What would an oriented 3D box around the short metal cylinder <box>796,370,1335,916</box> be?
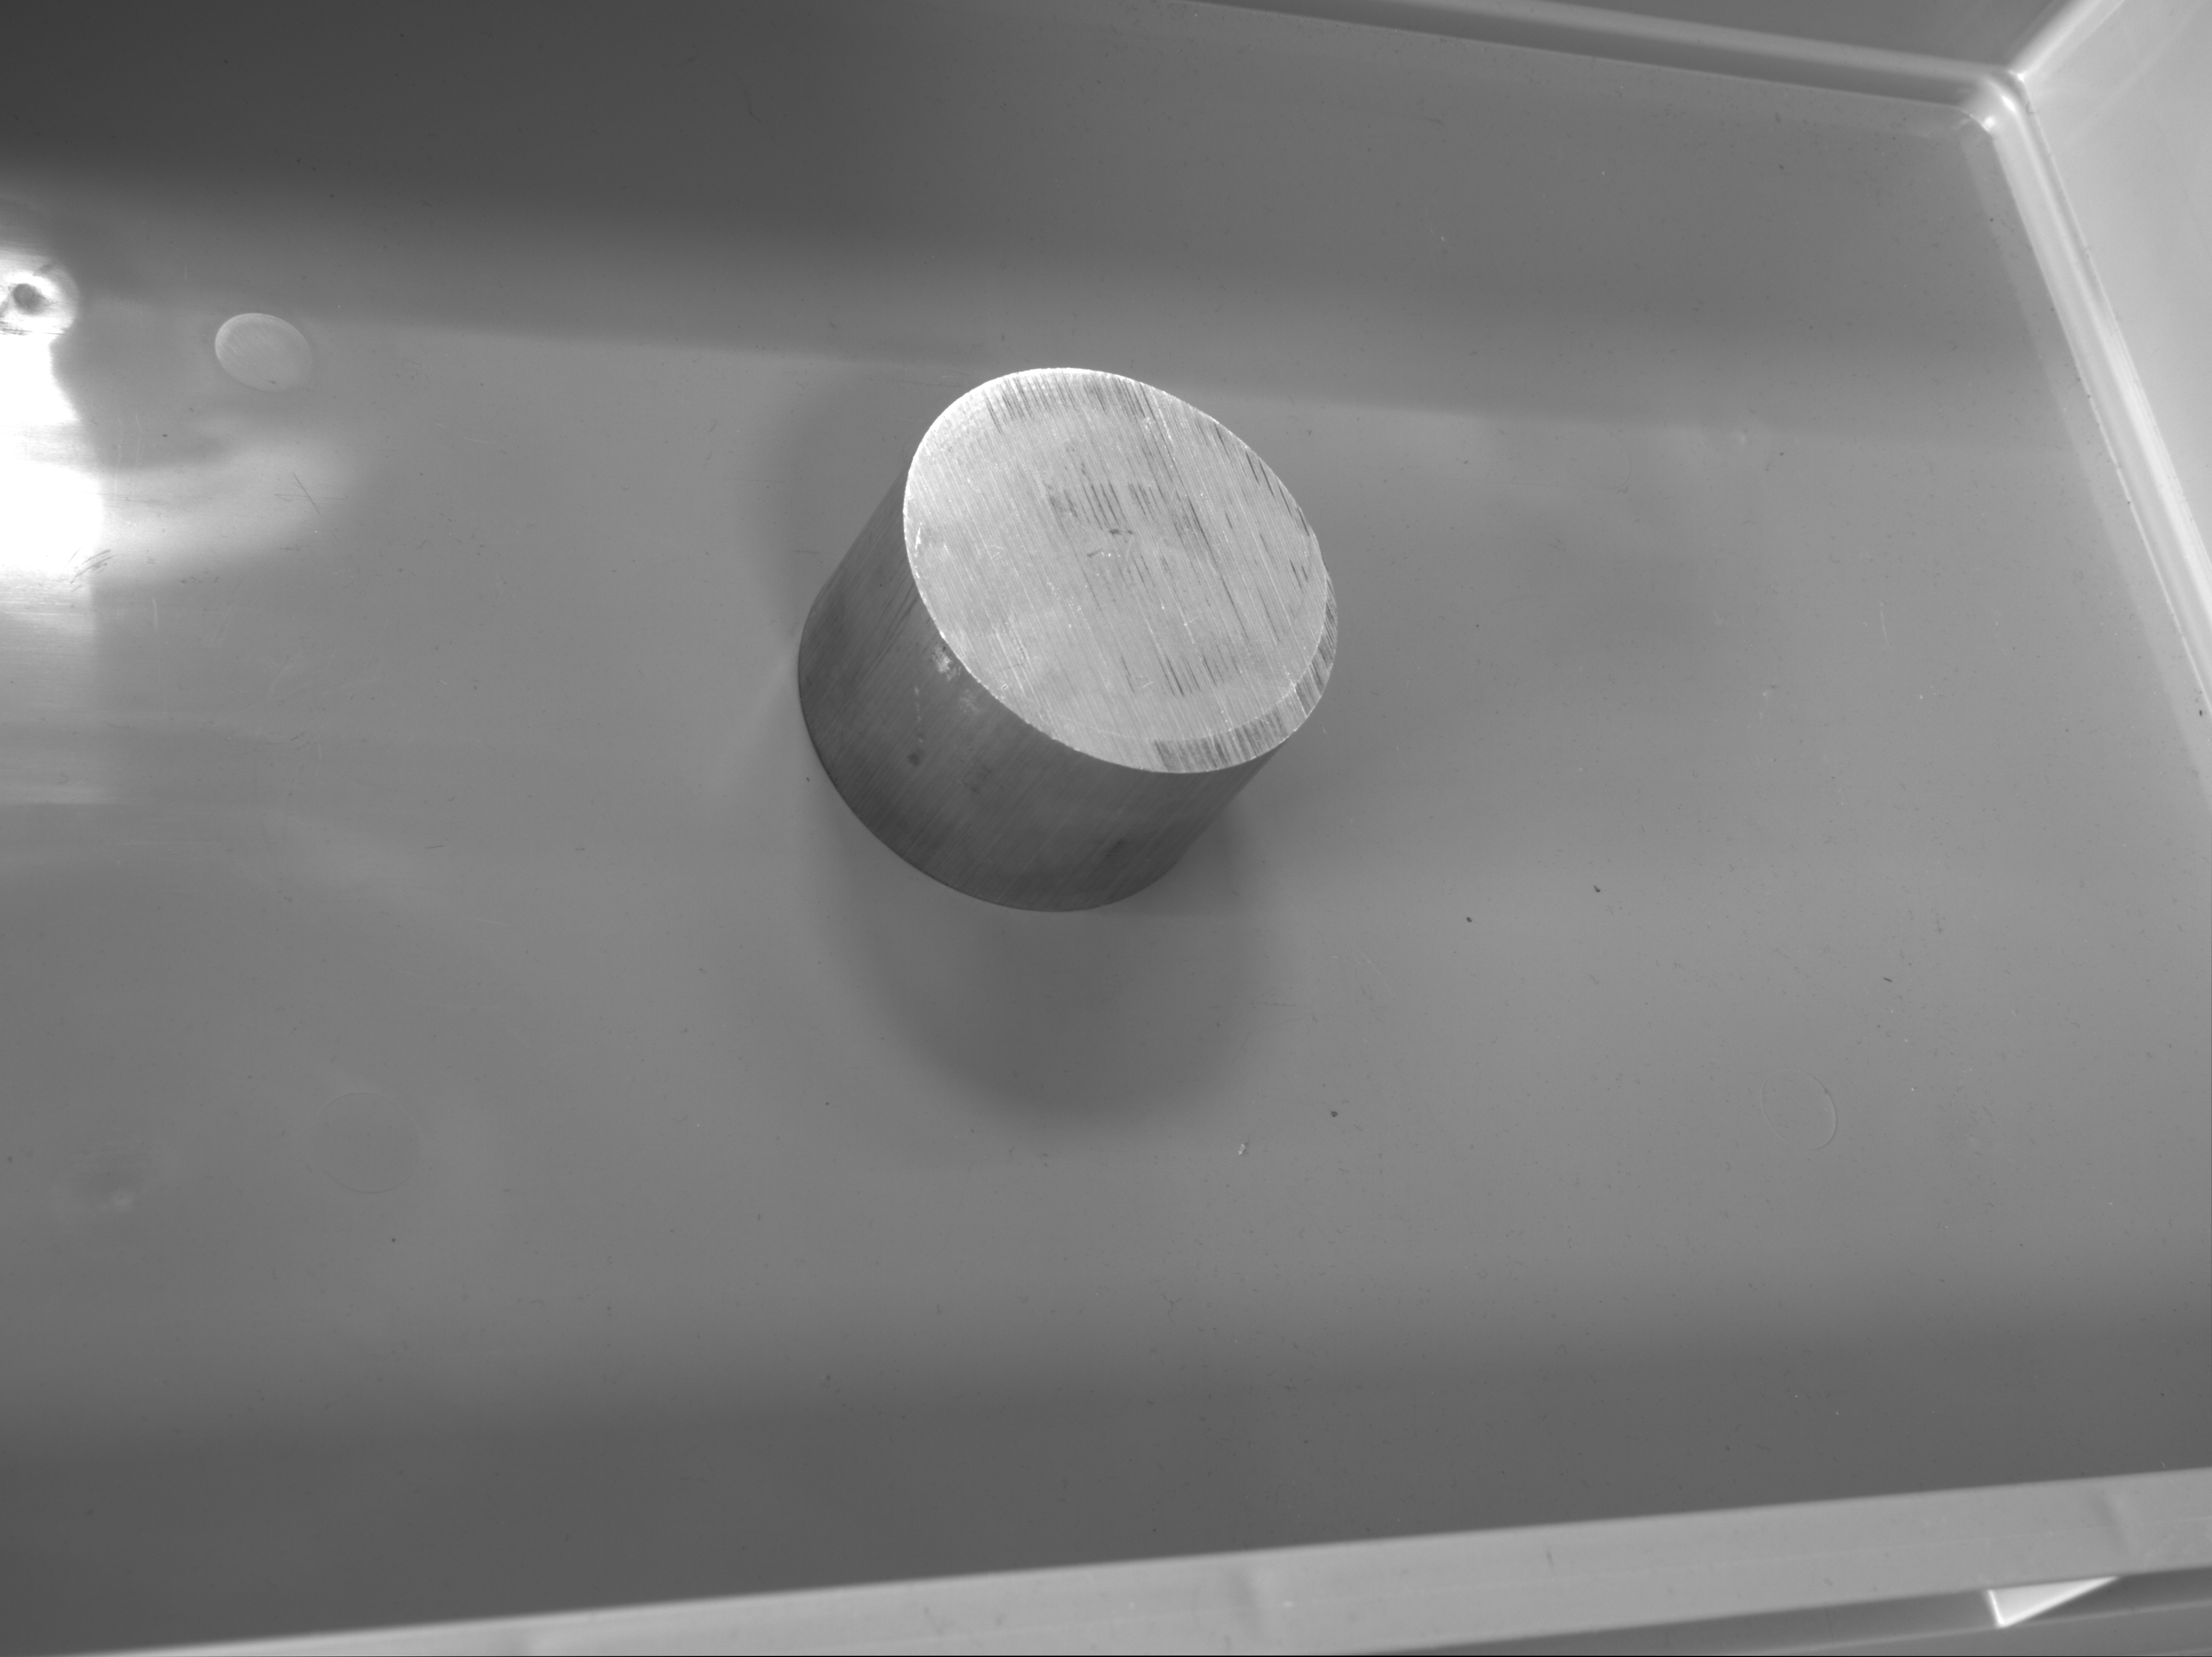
[{"bbox_3d":[-0.007,-0.032,0.637,0.080,0.050,0.080,13,56,-21],"label":"short metal cylinder"}]
